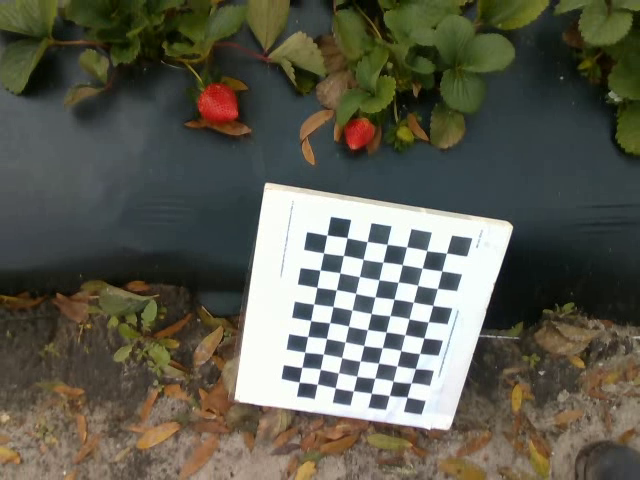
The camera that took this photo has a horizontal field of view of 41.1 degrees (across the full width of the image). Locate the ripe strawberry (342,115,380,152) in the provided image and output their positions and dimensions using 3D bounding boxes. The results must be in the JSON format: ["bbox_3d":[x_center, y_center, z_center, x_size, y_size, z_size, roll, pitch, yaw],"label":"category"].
[{"bbox_3d":[0.045,-0.115,0.953,0.040,0.042,0.037,18,-24,-10],"label":"ripe strawberry"}]

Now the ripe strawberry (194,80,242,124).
[{"bbox_3d":[-0.106,-0.144,0.938,0.042,0.047,0.065,-9,37,-40],"label":"ripe strawberry"}]
